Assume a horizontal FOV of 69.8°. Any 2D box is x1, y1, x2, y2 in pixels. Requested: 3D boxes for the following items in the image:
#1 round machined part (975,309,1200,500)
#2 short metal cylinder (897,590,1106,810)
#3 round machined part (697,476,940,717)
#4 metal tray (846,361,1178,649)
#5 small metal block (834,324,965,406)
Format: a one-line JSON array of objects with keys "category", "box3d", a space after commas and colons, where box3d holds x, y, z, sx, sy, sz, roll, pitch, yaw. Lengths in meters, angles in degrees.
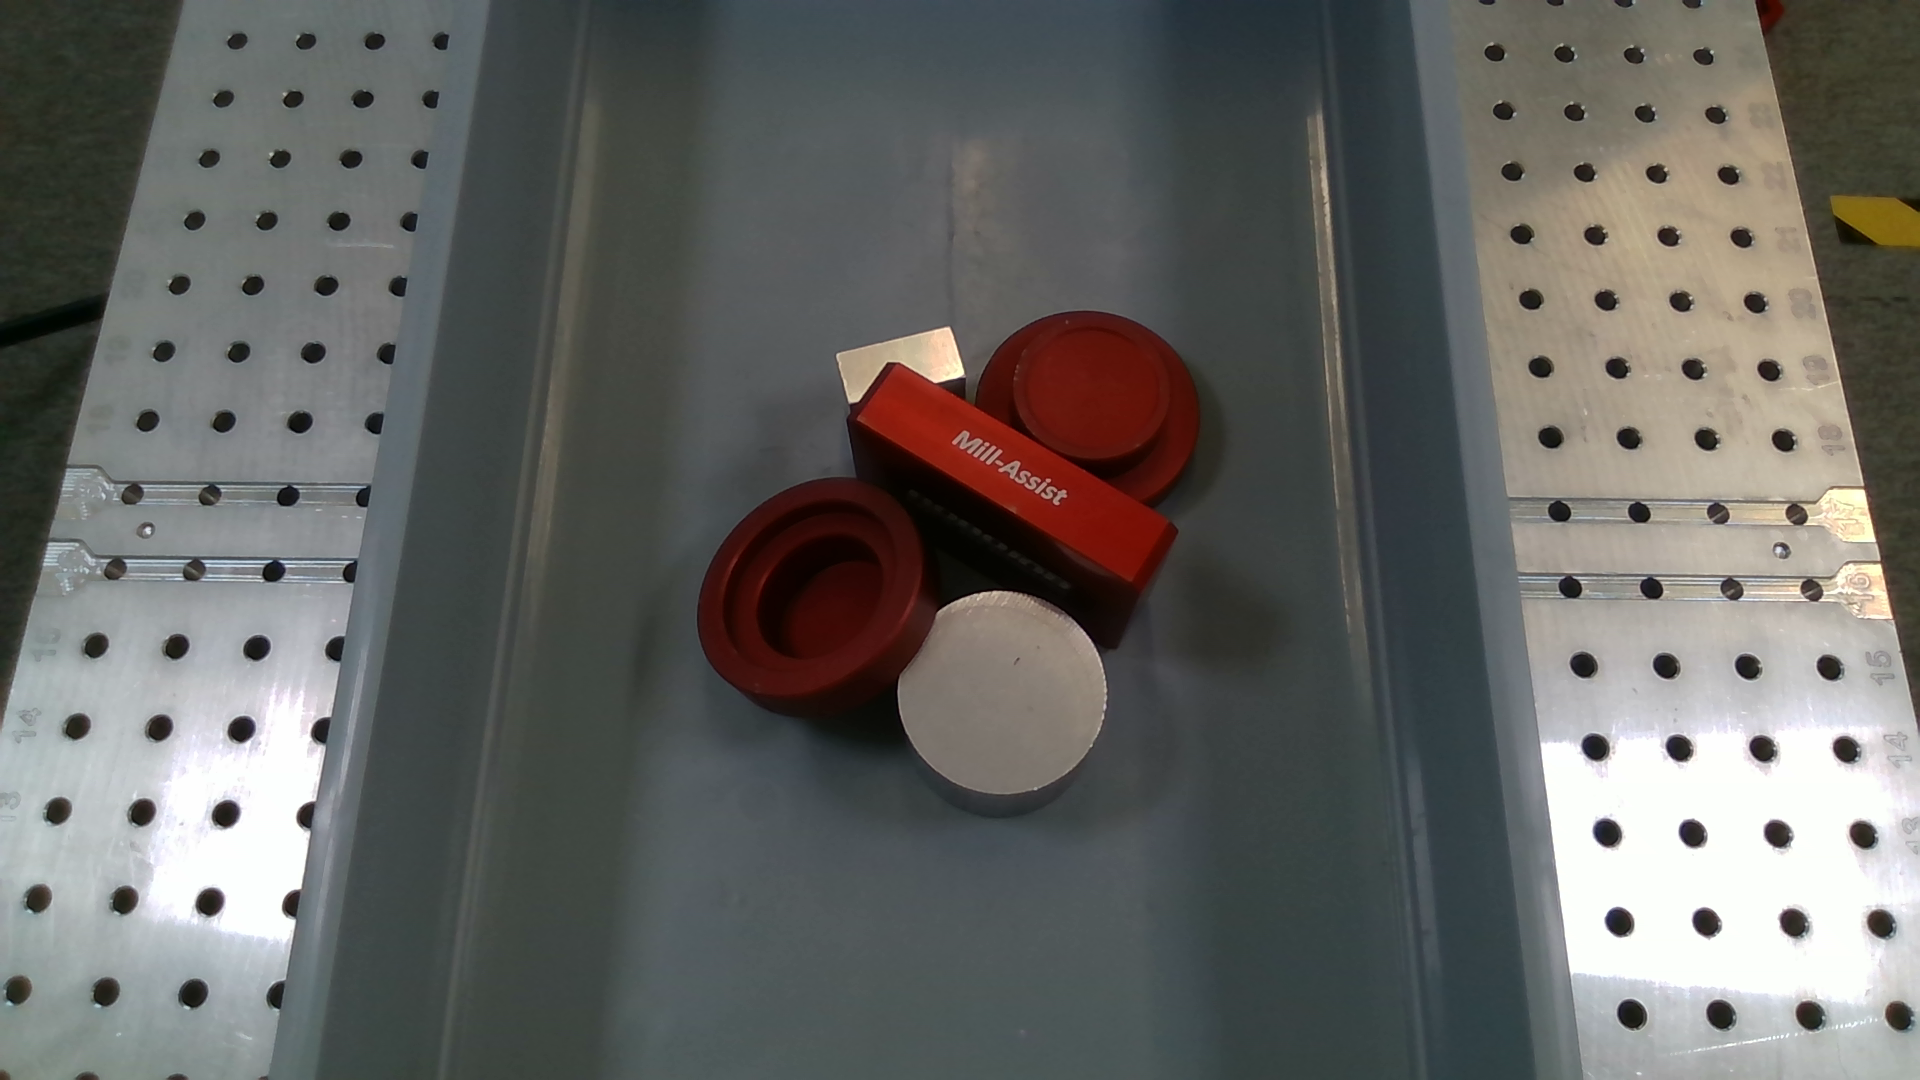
[{"category": "round machined part", "box3d": [0.055, -0.058, 0.598, 0.098, 0.042, 0.098, 0, 70, 0]}, {"category": "short metal cylinder", "box3d": [0.016, 0.066, 0.550, 0.080, 0.050, 0.080, 0, 70, 0]}, {"category": "round machined part", "box3d": [-0.053, 0.026, 0.556, 0.098, 0.042, 0.098, -11, 57, 18]}, {"category": "metal tray", "box3d": [0.019, -0.012, 0.556, 0.130, 0.090, 0.030, 31, 73, 10]}, {"category": "small metal block", "box3d": [-0.025, -0.065, 0.596, 0.050, 0.050, 0.025, -14, 71, -5]}]
